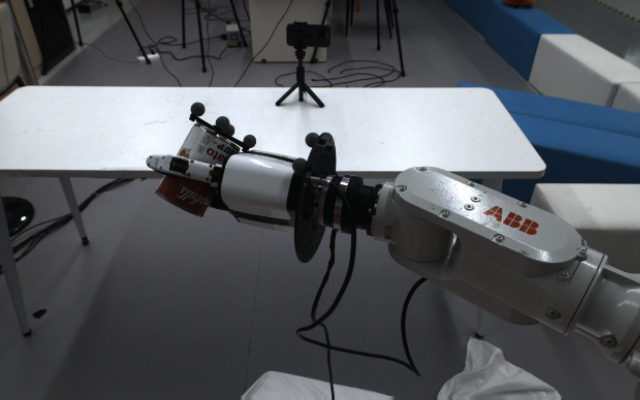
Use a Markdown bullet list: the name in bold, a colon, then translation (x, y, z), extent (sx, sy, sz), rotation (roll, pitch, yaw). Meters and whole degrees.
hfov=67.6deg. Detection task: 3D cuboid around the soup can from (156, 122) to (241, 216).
- **soup can**: translation (-0.154, -0.037, 0.616), extent (0.067, 0.101, 0.067), rotation (29, -3, 1)
